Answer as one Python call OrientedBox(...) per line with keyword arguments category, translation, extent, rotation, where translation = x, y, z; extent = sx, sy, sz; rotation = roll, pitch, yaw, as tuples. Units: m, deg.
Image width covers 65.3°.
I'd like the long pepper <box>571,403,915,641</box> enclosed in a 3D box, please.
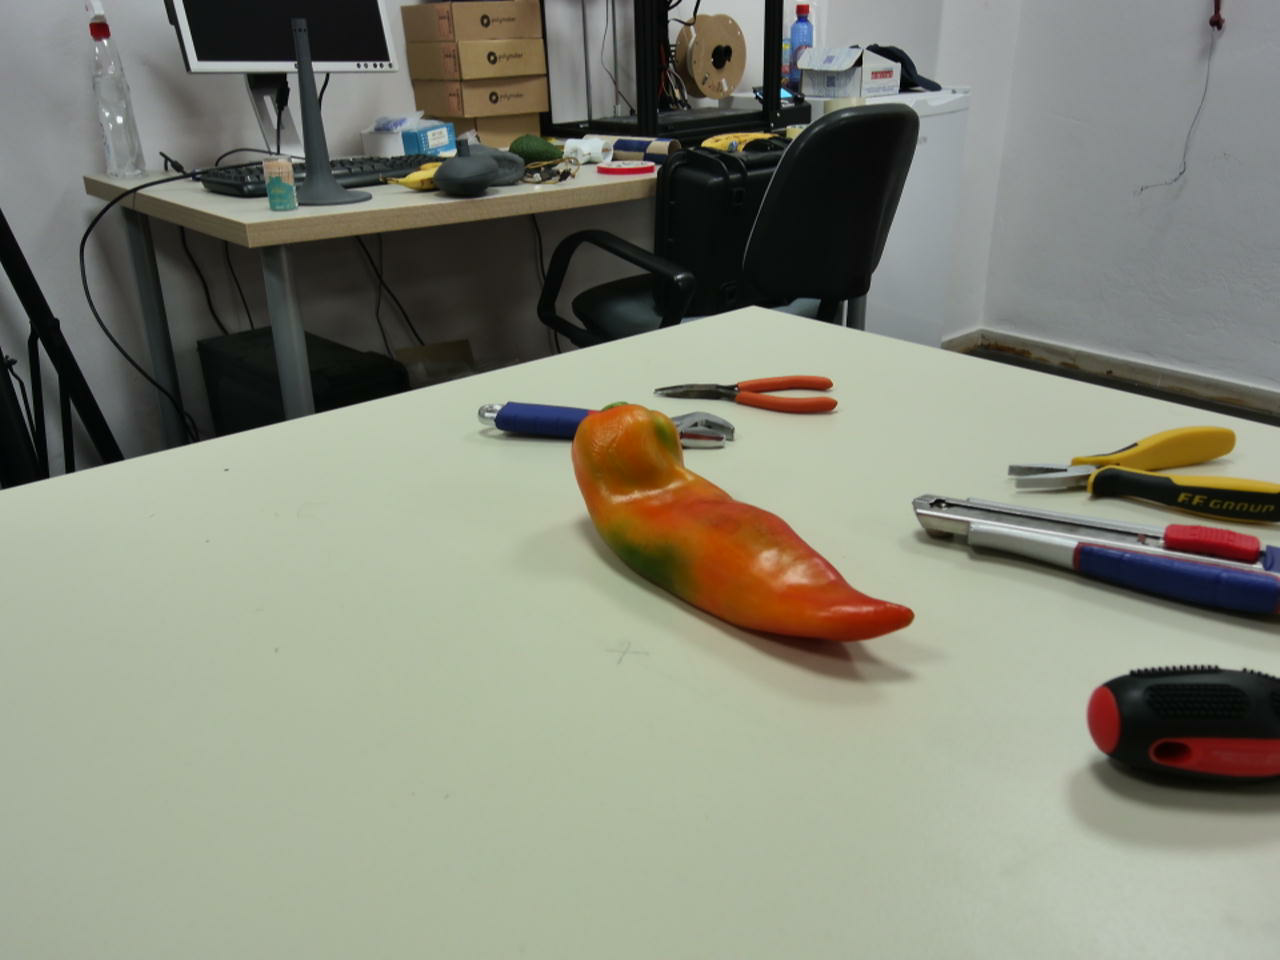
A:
OrientedBox(category="long pepper", translation=(0.037, 0.017, 0.440), extent=(0.066, 0.065, 0.199), rotation=(-14, 26, -31))
